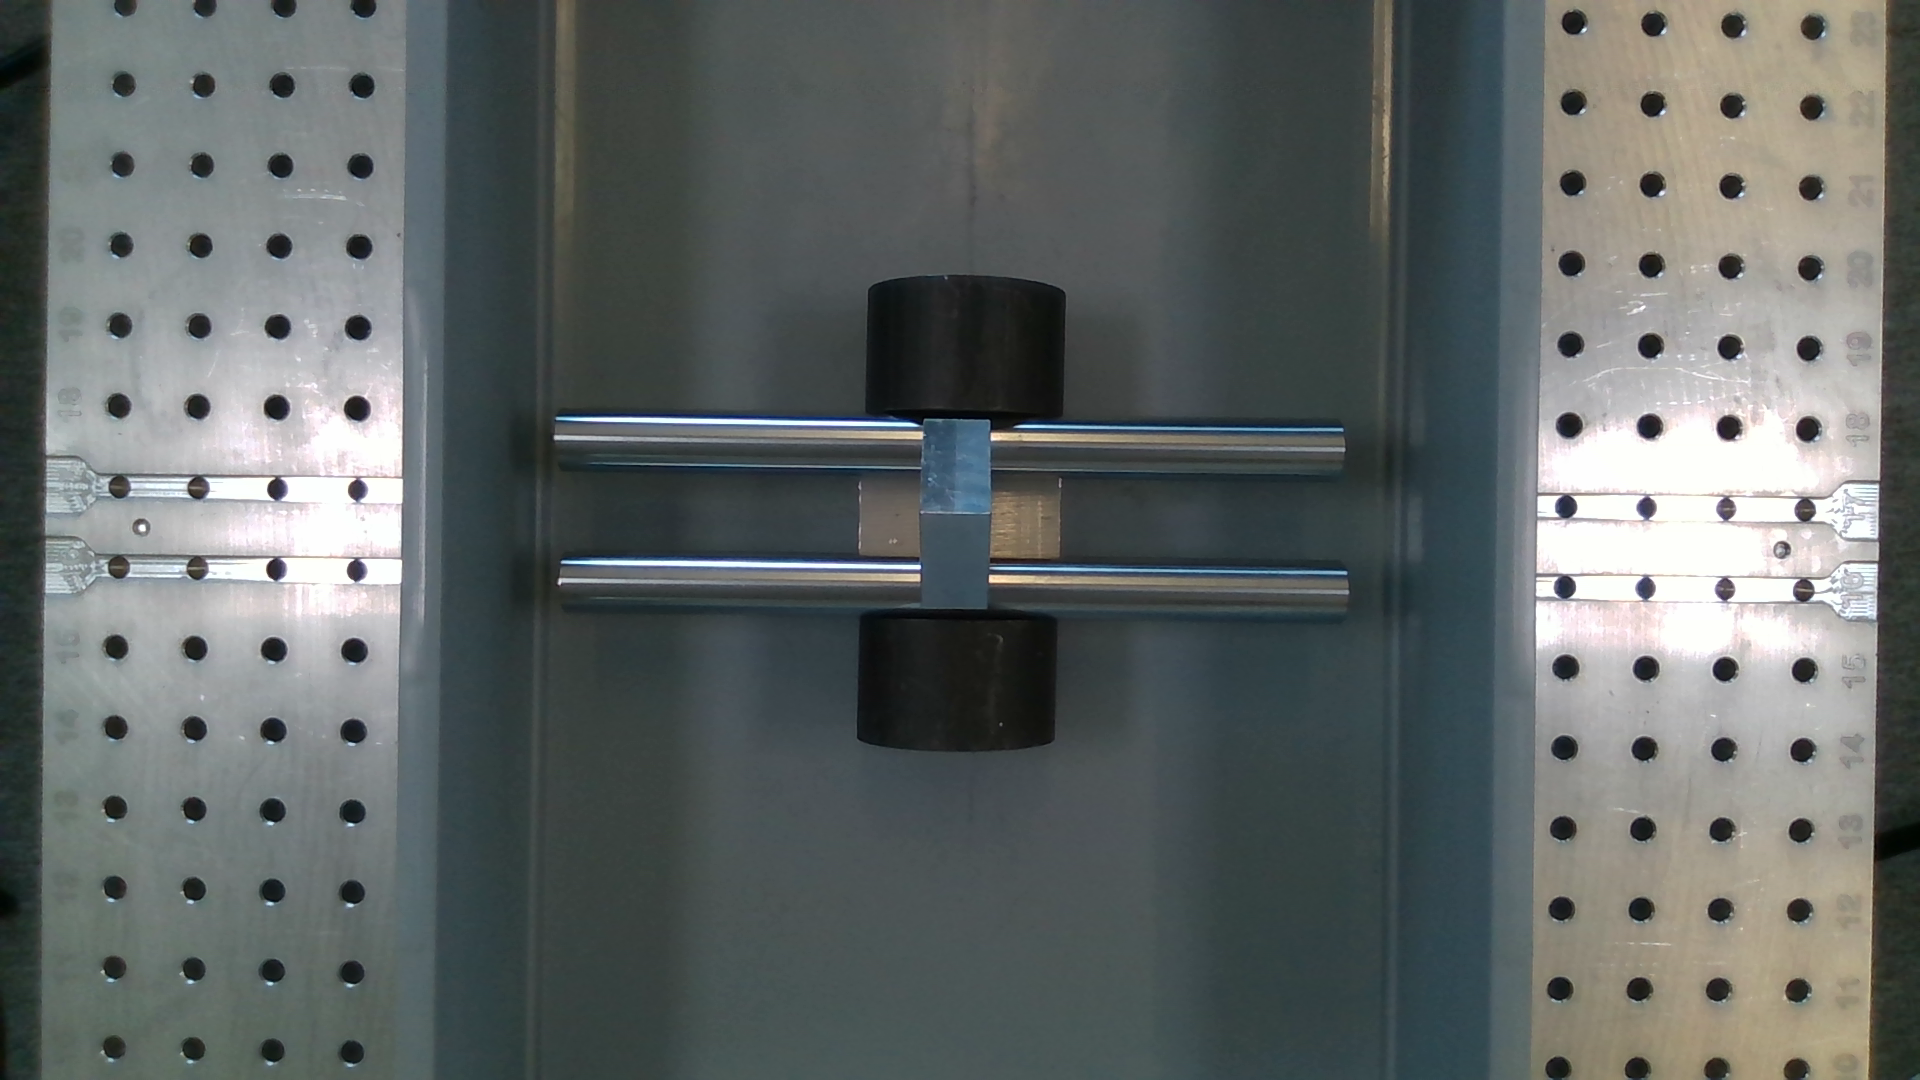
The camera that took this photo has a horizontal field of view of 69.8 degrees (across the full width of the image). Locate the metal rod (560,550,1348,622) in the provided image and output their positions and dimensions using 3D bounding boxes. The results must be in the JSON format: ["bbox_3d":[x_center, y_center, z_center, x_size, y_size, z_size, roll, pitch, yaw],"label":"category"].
[{"bbox_3d":[-0.002,0.018,0.537,0.300,0.025,0.025,1,90,0],"label":"metal rod"}]

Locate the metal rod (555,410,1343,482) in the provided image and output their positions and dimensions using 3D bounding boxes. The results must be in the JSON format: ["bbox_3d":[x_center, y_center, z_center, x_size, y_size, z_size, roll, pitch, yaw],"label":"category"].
[{"bbox_3d":[-0.004,-0.037,0.536,0.300,0.025,0.025,1,90,0],"label":"metal rod"}]

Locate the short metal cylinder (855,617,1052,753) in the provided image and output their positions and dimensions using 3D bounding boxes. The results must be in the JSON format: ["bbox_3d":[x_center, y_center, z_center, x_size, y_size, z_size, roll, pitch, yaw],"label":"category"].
[{"bbox_3d":[-0.002,0.056,0.559,0.080,0.080,0.050,1,89,0],"label":"short metal cylinder"}]

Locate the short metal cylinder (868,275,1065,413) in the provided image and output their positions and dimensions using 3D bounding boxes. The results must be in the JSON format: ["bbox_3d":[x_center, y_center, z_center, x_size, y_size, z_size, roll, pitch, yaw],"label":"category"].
[{"bbox_3d":[0.002,-0.075,0.558,0.080,0.080,0.050,1,90,0],"label":"short metal cylinder"}]

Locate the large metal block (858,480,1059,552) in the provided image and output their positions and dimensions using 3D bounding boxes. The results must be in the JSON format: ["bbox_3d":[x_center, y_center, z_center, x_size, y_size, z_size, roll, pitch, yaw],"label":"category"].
[{"bbox_3d":[-0.001,-0.010,0.573,0.080,0.050,0.080,1,90,0],"label":"large metal block"}]

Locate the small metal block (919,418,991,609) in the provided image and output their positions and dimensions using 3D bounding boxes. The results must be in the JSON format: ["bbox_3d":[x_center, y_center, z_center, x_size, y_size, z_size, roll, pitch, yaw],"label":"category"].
[{"bbox_3d":[-0.002,-0.010,0.511,0.025,0.050,0.050,1,46,0],"label":"small metal block"}]
